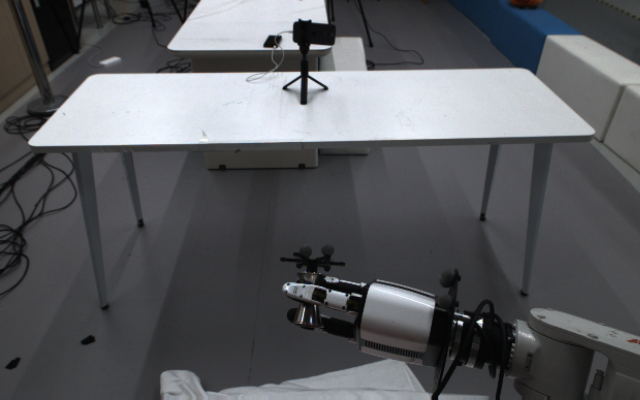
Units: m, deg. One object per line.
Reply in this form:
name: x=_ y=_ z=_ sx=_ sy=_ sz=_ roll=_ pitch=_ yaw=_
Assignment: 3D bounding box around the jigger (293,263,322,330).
jigger: x=-0.015 y=0.131 z=0.646 sx=0.043 sy=0.043 sz=0.071 roll=4 pitch=71 yaw=3
